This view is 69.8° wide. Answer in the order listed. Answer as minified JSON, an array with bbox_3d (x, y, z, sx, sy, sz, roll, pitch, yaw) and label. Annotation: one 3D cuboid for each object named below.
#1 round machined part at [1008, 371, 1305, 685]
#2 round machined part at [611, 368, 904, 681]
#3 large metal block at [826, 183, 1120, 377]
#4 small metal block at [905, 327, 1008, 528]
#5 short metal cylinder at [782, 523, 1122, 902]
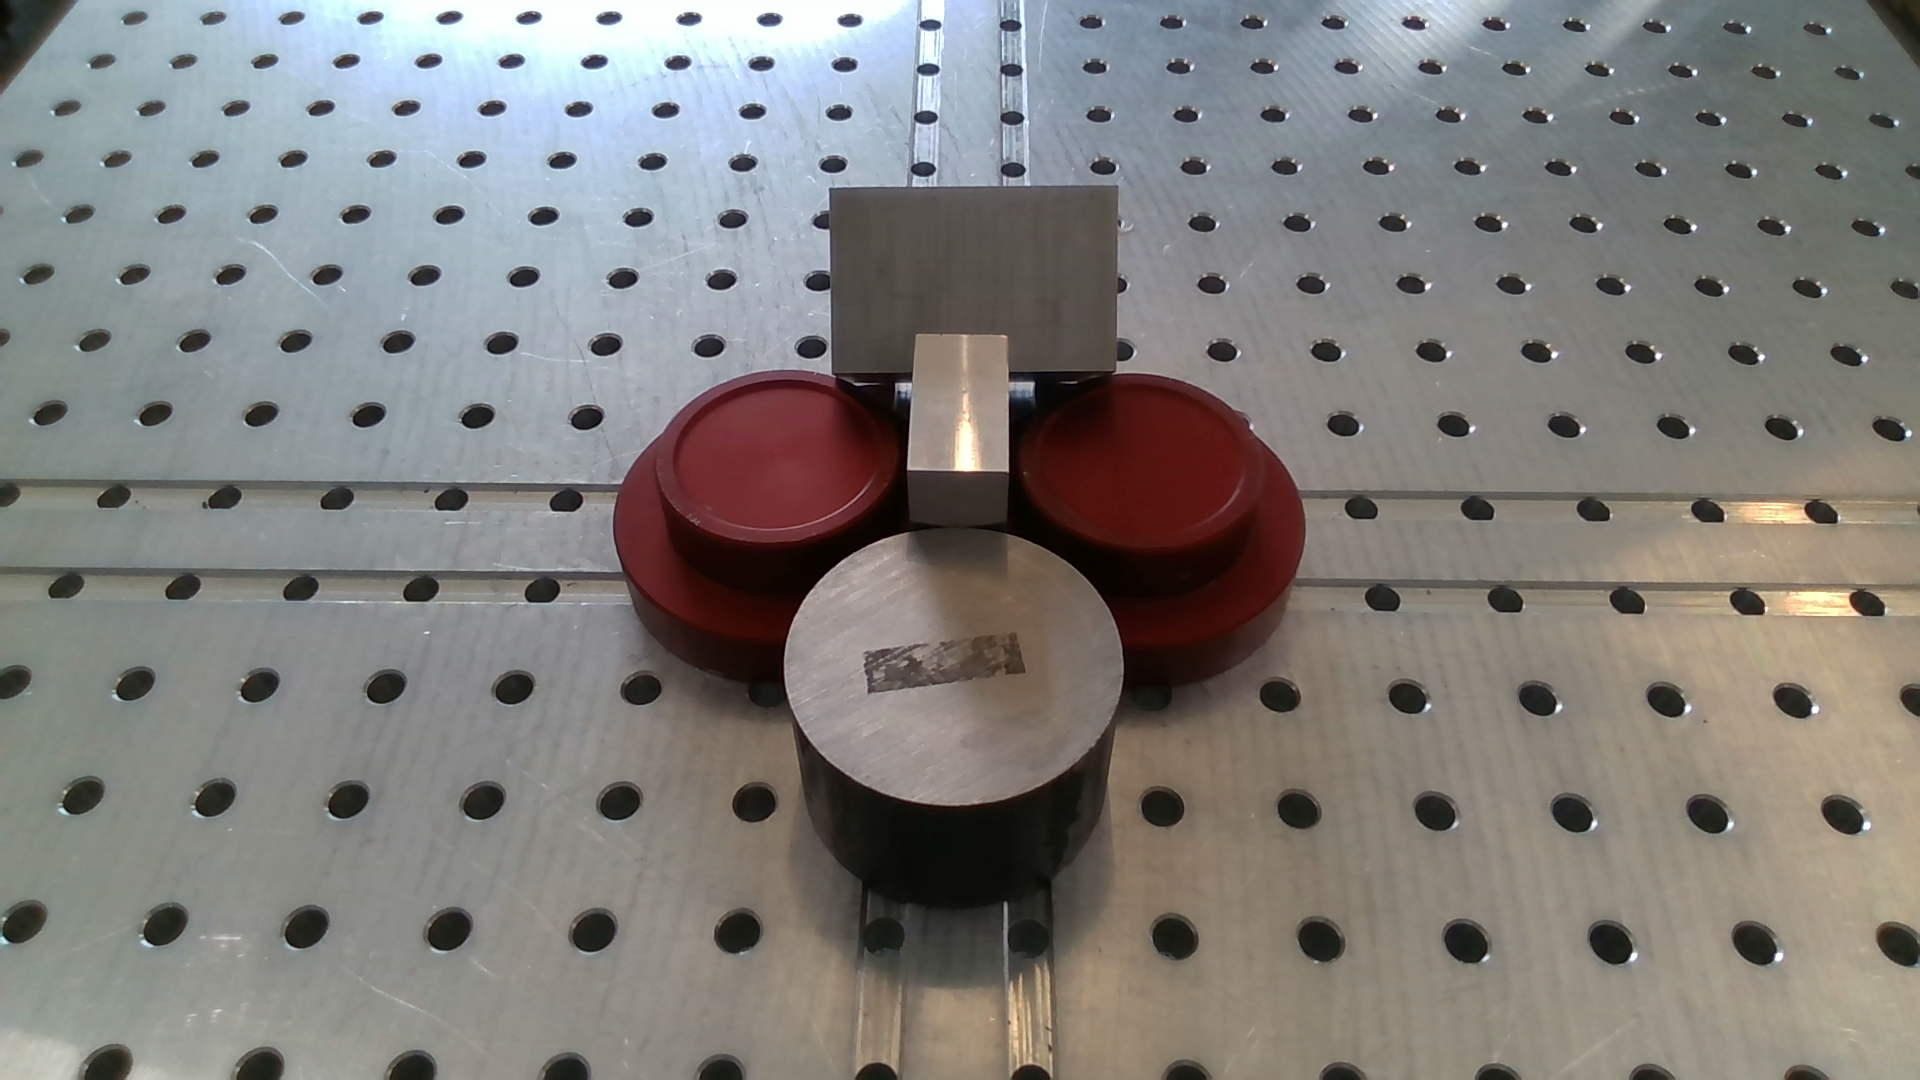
[{"bbox_3d":[0.050,-0.010,0.395,0.098,0.042,0.098,0,50,0],"label":"round machined part"},{"bbox_3d":[-0.051,-0.011,0.396,0.098,0.042,0.098,0,50,0],"label":"round machined part"},{"bbox_3d":[0.004,-0.075,0.416,0.080,0.080,0.050,-1,94,0],"label":"large metal block"},{"bbox_3d":[0.000,-0.021,0.369,0.025,0.050,0.050,1,50,1],"label":"small metal block"},{"bbox_3d":[-0.002,0.042,0.344,0.080,0.050,0.080,0,50,0],"label":"short metal cylinder"}]
